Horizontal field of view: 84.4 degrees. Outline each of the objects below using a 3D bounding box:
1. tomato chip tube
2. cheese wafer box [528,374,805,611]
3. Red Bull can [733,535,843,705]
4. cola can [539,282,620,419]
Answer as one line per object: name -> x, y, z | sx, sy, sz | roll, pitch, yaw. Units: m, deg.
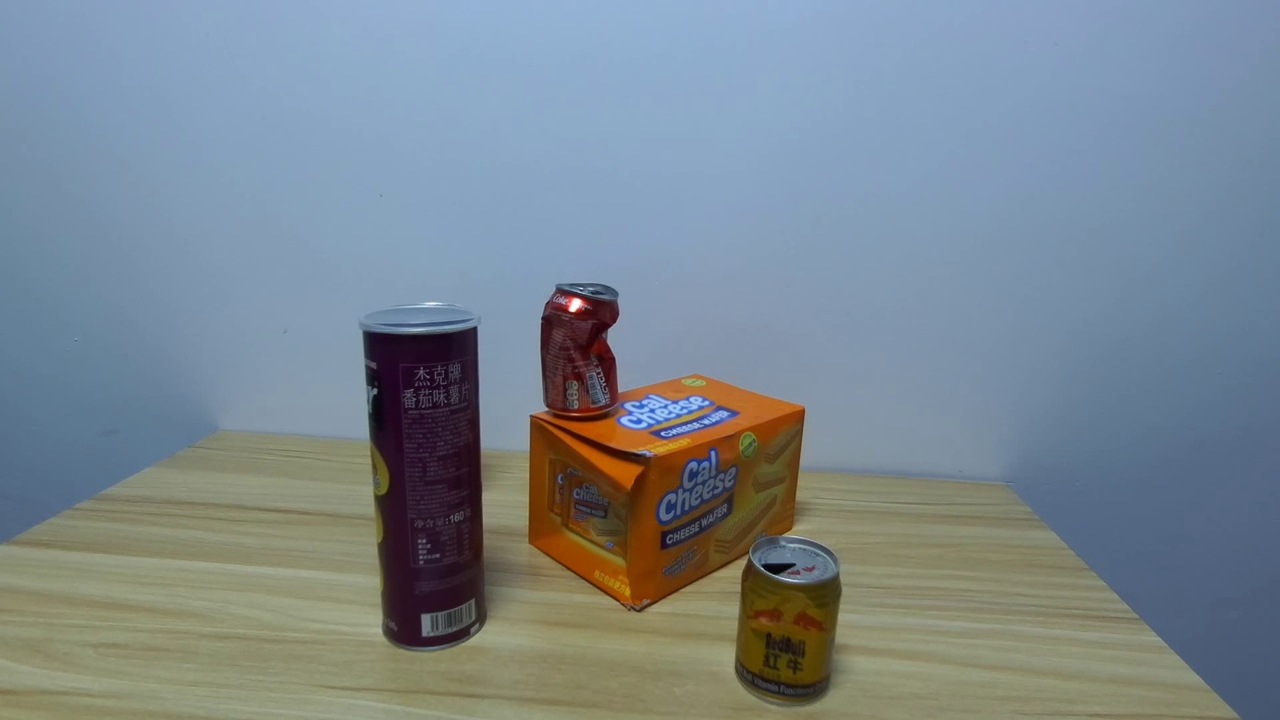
tomato chip tube -> -0.150, 0.085, 0.506 | 0.078, 0.233, 0.078 | 2, 15, 0
cheese wafer box -> 0.027, 0.103, 0.653 | 0.228, 0.137, 0.149 | -11, 20, -43
Red Bull can -> 0.099, 0.172, 0.476 | 0.069, 0.092, 0.069 | 2, 16, 0
cola can -> -0.050, -0.009, 0.609 | 0.069, 0.112, 0.065 | -4, 15, -25
